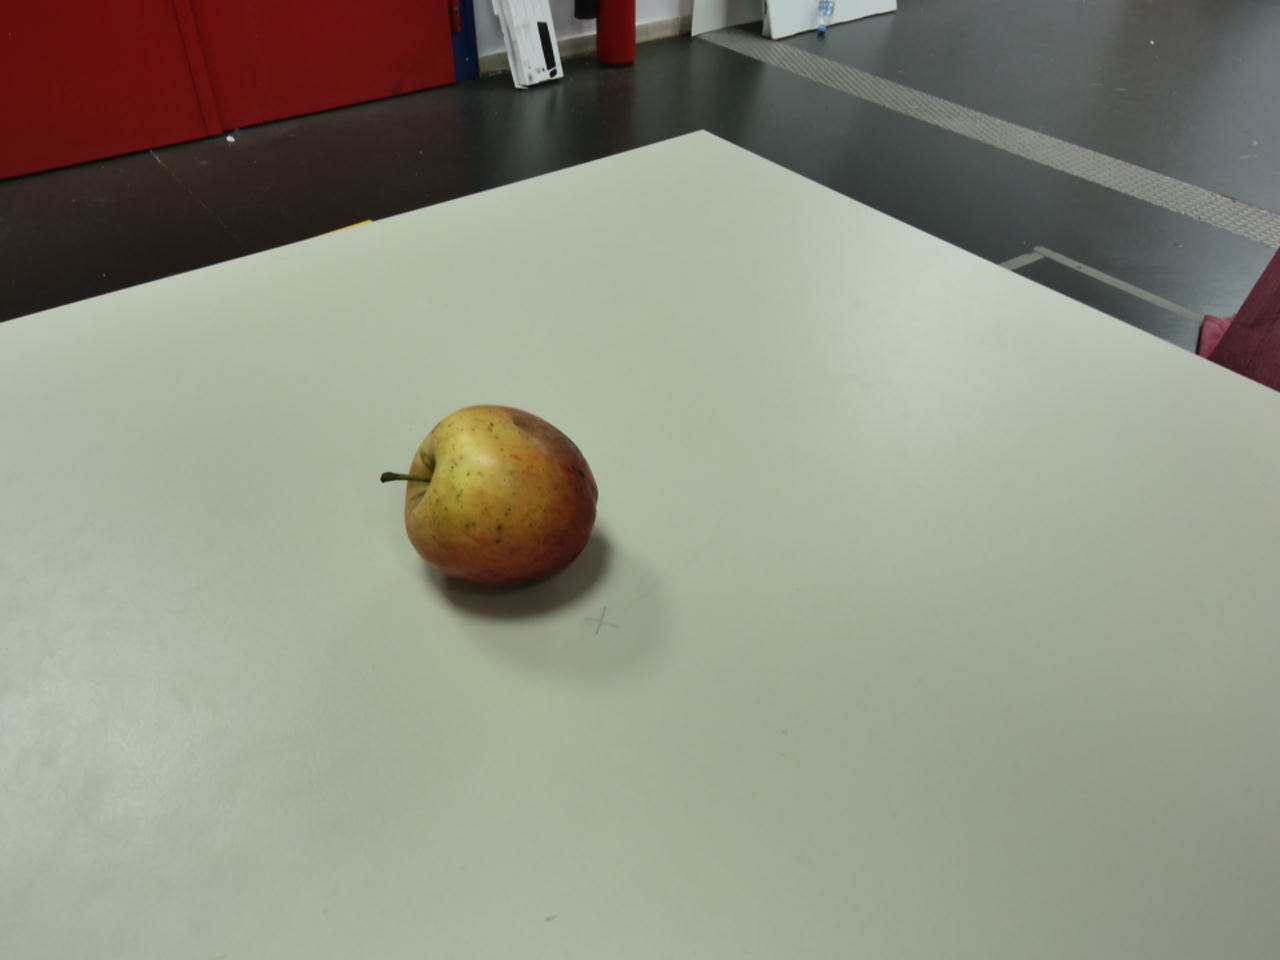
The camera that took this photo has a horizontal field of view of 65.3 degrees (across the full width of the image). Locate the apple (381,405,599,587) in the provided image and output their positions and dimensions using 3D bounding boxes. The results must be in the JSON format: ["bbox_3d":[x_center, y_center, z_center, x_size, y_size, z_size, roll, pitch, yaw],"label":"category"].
[{"bbox_3d":[-0.067,0.008,0.472,0.093,0.084,0.086,11,39,12],"label":"apple"}]
